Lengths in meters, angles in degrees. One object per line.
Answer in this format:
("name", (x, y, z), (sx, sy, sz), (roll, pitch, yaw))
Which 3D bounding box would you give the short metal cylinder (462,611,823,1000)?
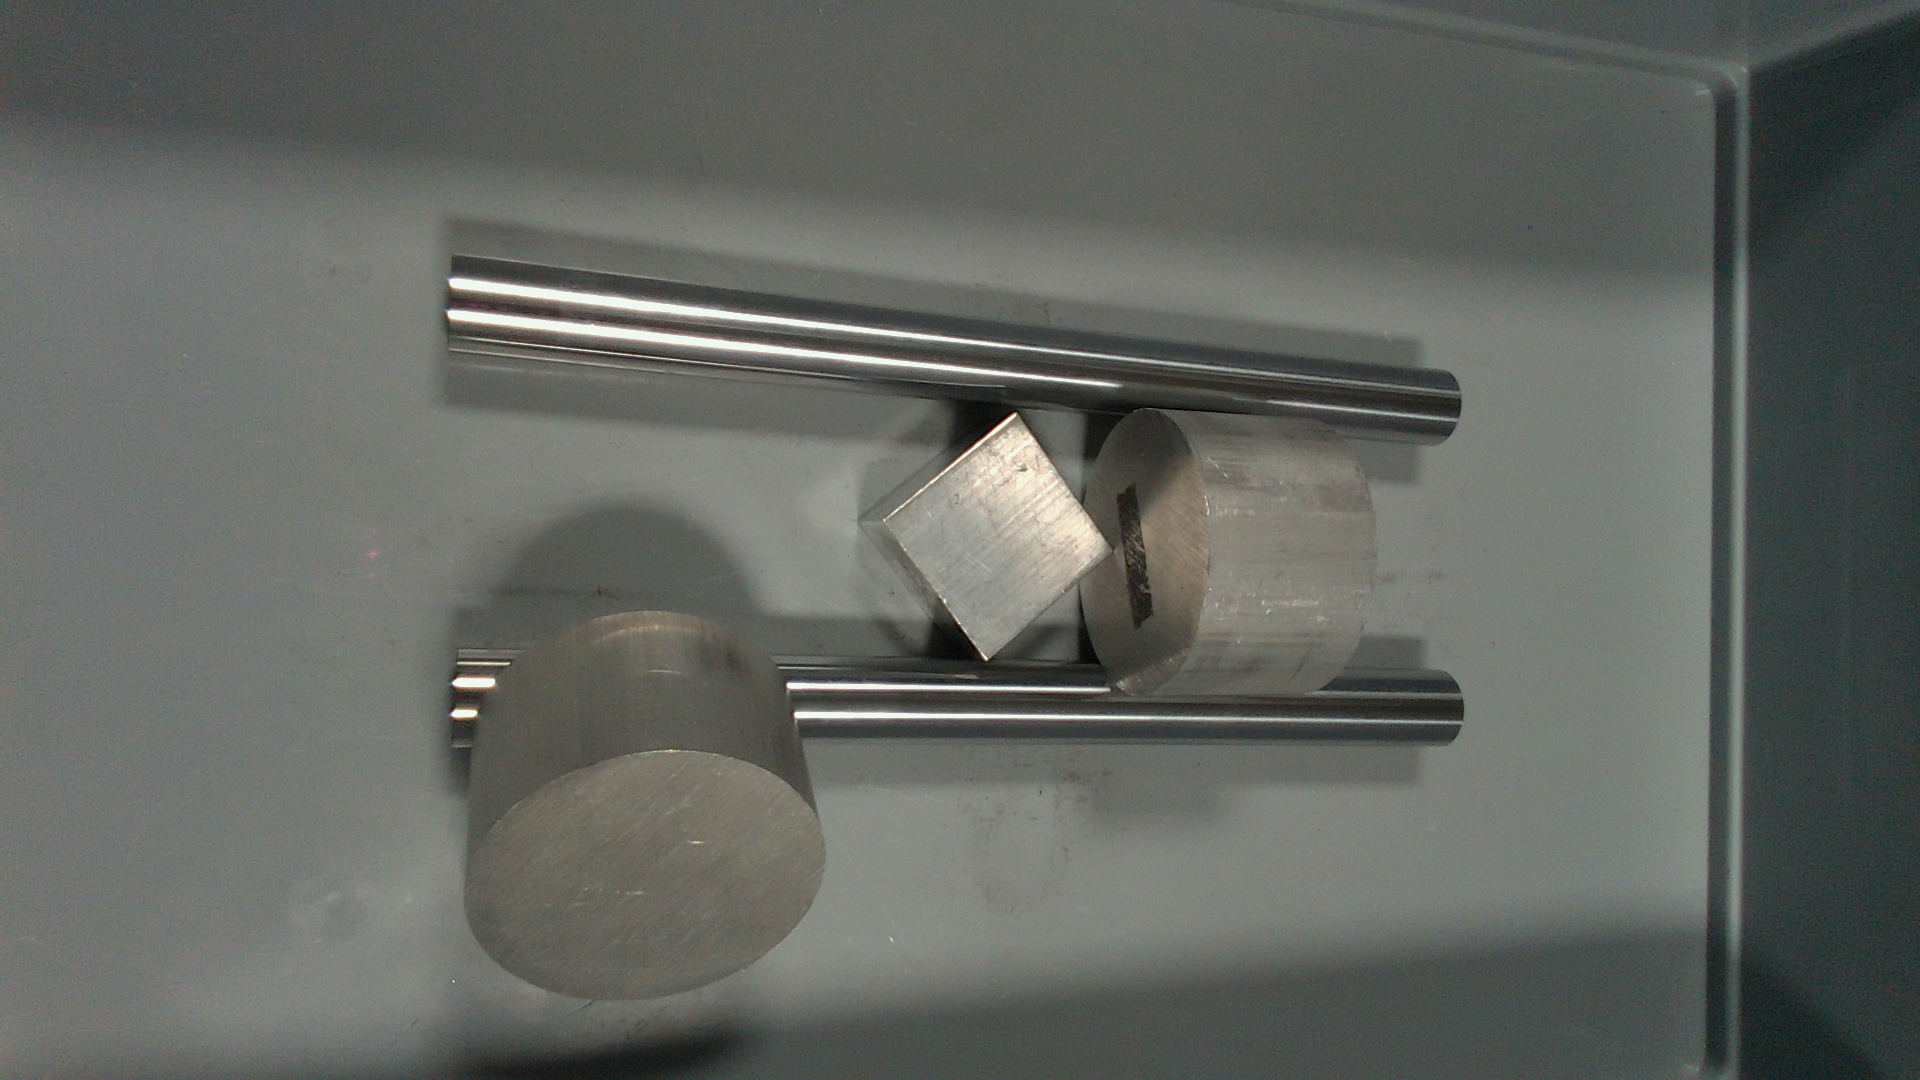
("short metal cylinder", (-0.077, 0.064, 0.333), (0.080, 0.050, 0.080), (-9, 126, -12))

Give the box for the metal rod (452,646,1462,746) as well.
("metal rod", (0.014, 0.047, 0.397), (0.301, 0.025, 0.025), (3, 89, -20))

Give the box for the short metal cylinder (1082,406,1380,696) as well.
("short metal cylinder", (0.073, 0.004, 0.390), (0.050, 0.080, 0.080), (2, 89, -20))

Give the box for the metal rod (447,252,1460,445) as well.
("metal rod", (0.013, -0.051, 0.396), (0.301, 0.025, 0.025), (3, 89, -20))

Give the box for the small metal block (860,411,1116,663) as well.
("small metal block", (0.008, -0.001, 0.395), (0.050, 0.025, 0.050), (-40, 103, -16))
